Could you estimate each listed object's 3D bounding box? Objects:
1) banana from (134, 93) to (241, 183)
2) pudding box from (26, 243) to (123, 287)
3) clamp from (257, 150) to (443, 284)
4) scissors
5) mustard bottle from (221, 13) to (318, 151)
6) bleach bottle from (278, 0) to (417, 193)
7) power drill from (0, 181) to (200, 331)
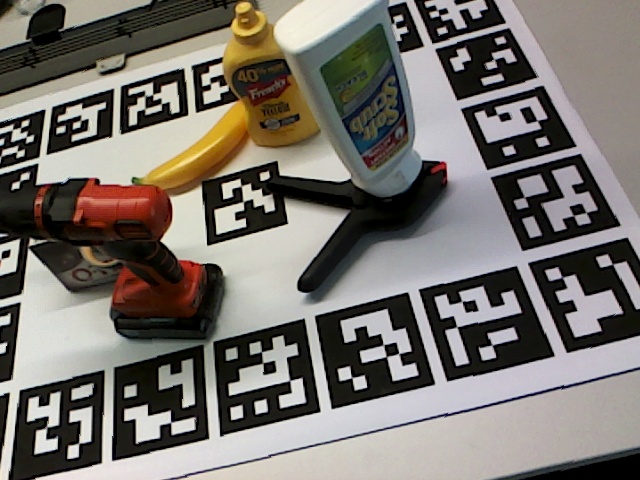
[{"bbox_3d":[-0.159,-0.138,0.815,0.075,0.038,0.197,24,66,45],"label":"banana"},{"bbox_3d":[-0.267,0.008,0.725,0.114,0.089,0.039,-11,49,7],"label":"pudding box"},{"bbox_3d":[0.042,-0.051,0.695,0.203,0.036,0.166,-20,57,0],"label":"clamp"},{"bbox_3d":[-0.290,-0.030,0.678,0.203,0.016,0.088,9,64,15],"label":"scissors"},{"bbox_3d":[-0.066,-0.189,0.744,0.096,0.190,0.058,-3,57,12],"label":"mustard bottle"},{"bbox_3d":[0.051,-0.129,0.616,0.102,0.249,0.068,-34,52,0],"label":"bleach bottle"},{"bbox_3d":[-0.213,0.020,0.609,0.185,0.186,0.057,-5,50,15],"label":"power drill"}]
